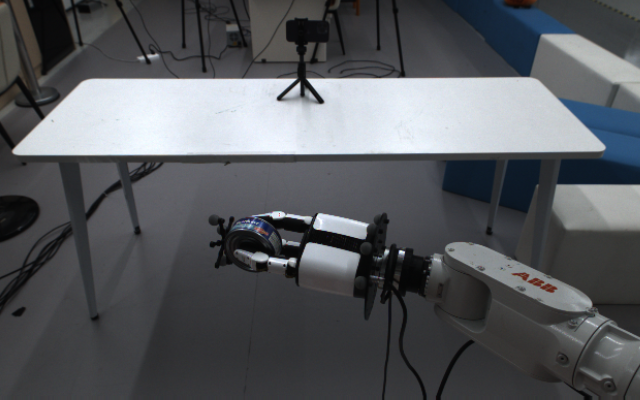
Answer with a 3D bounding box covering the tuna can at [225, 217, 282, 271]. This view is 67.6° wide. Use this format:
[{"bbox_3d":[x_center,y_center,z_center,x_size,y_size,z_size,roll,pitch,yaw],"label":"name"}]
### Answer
[{"bbox_3d":[-0.101,0.069,0.747,0.085,0.085,0.034,9,34,10],"label":"tuna can"}]
